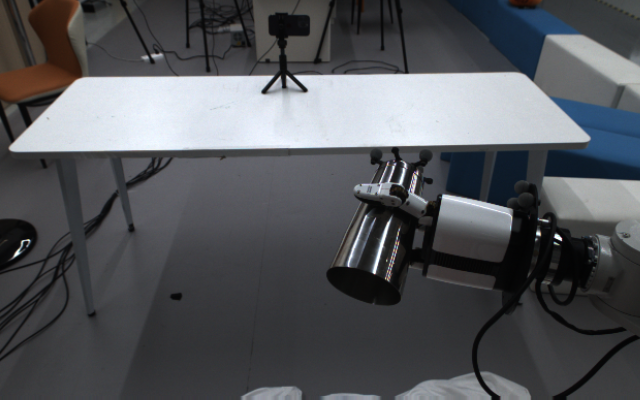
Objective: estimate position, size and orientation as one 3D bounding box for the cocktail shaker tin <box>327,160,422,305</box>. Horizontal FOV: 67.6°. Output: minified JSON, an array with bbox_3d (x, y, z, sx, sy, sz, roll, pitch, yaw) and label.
[{"bbox_3d":[0.078,0.032,0.604,0.093,0.093,0.170,14,57,16],"label":"cocktail shaker tin"}]
